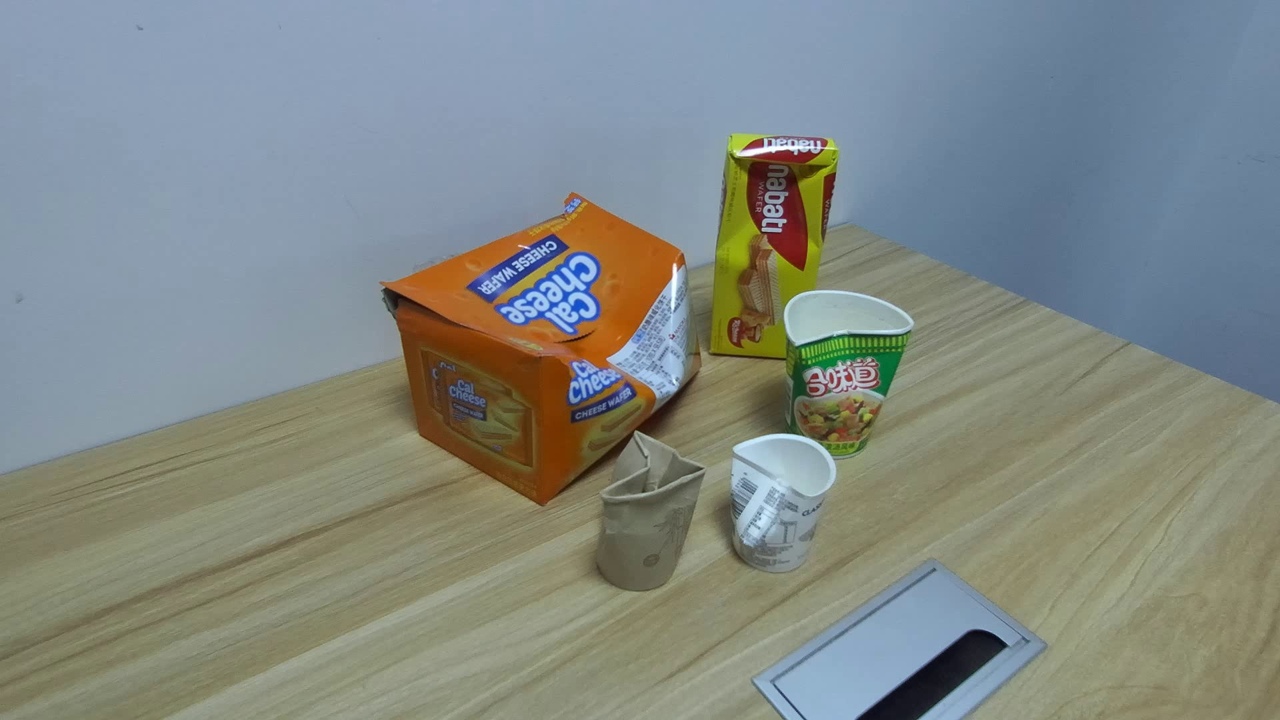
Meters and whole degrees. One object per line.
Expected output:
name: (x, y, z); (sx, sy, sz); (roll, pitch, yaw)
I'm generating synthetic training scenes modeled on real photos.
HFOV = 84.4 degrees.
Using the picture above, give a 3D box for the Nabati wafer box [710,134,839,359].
Nabati wafer box: (0.116, -0.095, 0.638); (0.096, 0.203, 0.042); (5, 30, 3)

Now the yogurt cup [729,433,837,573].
yogurt cup: (0.092, 0.095, 0.466); (0.067, 0.070, 0.067); (1, 30, 0)

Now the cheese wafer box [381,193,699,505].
cheese wafer box: (-0.054, -0.020, 0.577); (0.190, 0.145, 0.219); (21, 39, 30)

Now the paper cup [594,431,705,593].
paper cup: (-0.002, 0.097, 0.450); (0.067, 0.083, 0.058); (-19, 36, -27)

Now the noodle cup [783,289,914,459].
noodle cup: (0.155, 0.013, 0.553); (0.093, 0.109, 0.087); (5, 33, 8)
